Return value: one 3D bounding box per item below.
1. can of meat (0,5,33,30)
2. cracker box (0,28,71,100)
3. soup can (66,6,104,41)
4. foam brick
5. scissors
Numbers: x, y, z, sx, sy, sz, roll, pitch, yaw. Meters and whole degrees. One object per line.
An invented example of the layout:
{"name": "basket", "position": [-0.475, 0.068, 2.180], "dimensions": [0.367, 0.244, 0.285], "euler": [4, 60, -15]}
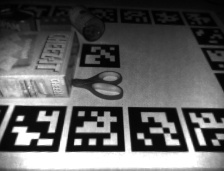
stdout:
{"name": "can of meat", "position": [-0.256, -0.153, 0.561], "dimensions": [0.101, 0.084, 0.058], "euler": [11, 49, 6]}
{"name": "cracker box", "position": [-0.203, -0.054, 0.466], "dimensions": [0.214, 0.072, 0.163], "euler": [-5, 47, -4]}
{"name": "soup can", "position": [-0.080, -0.182, 0.625], "dimensions": [0.068, 0.068, 0.100], "euler": [-29, 51, -26]}
{"name": "foam brick", "position": [-0.162, -0.163, 0.603], "dimensions": [0.078, 0.051, 0.052], "euler": [-7, 49, -10]}
{"name": "scissors", "position": [-0.088, -0.005, 0.472], "dimensions": [0.203, 0.016, 0.087], "euler": [-3, 49, -6]}
